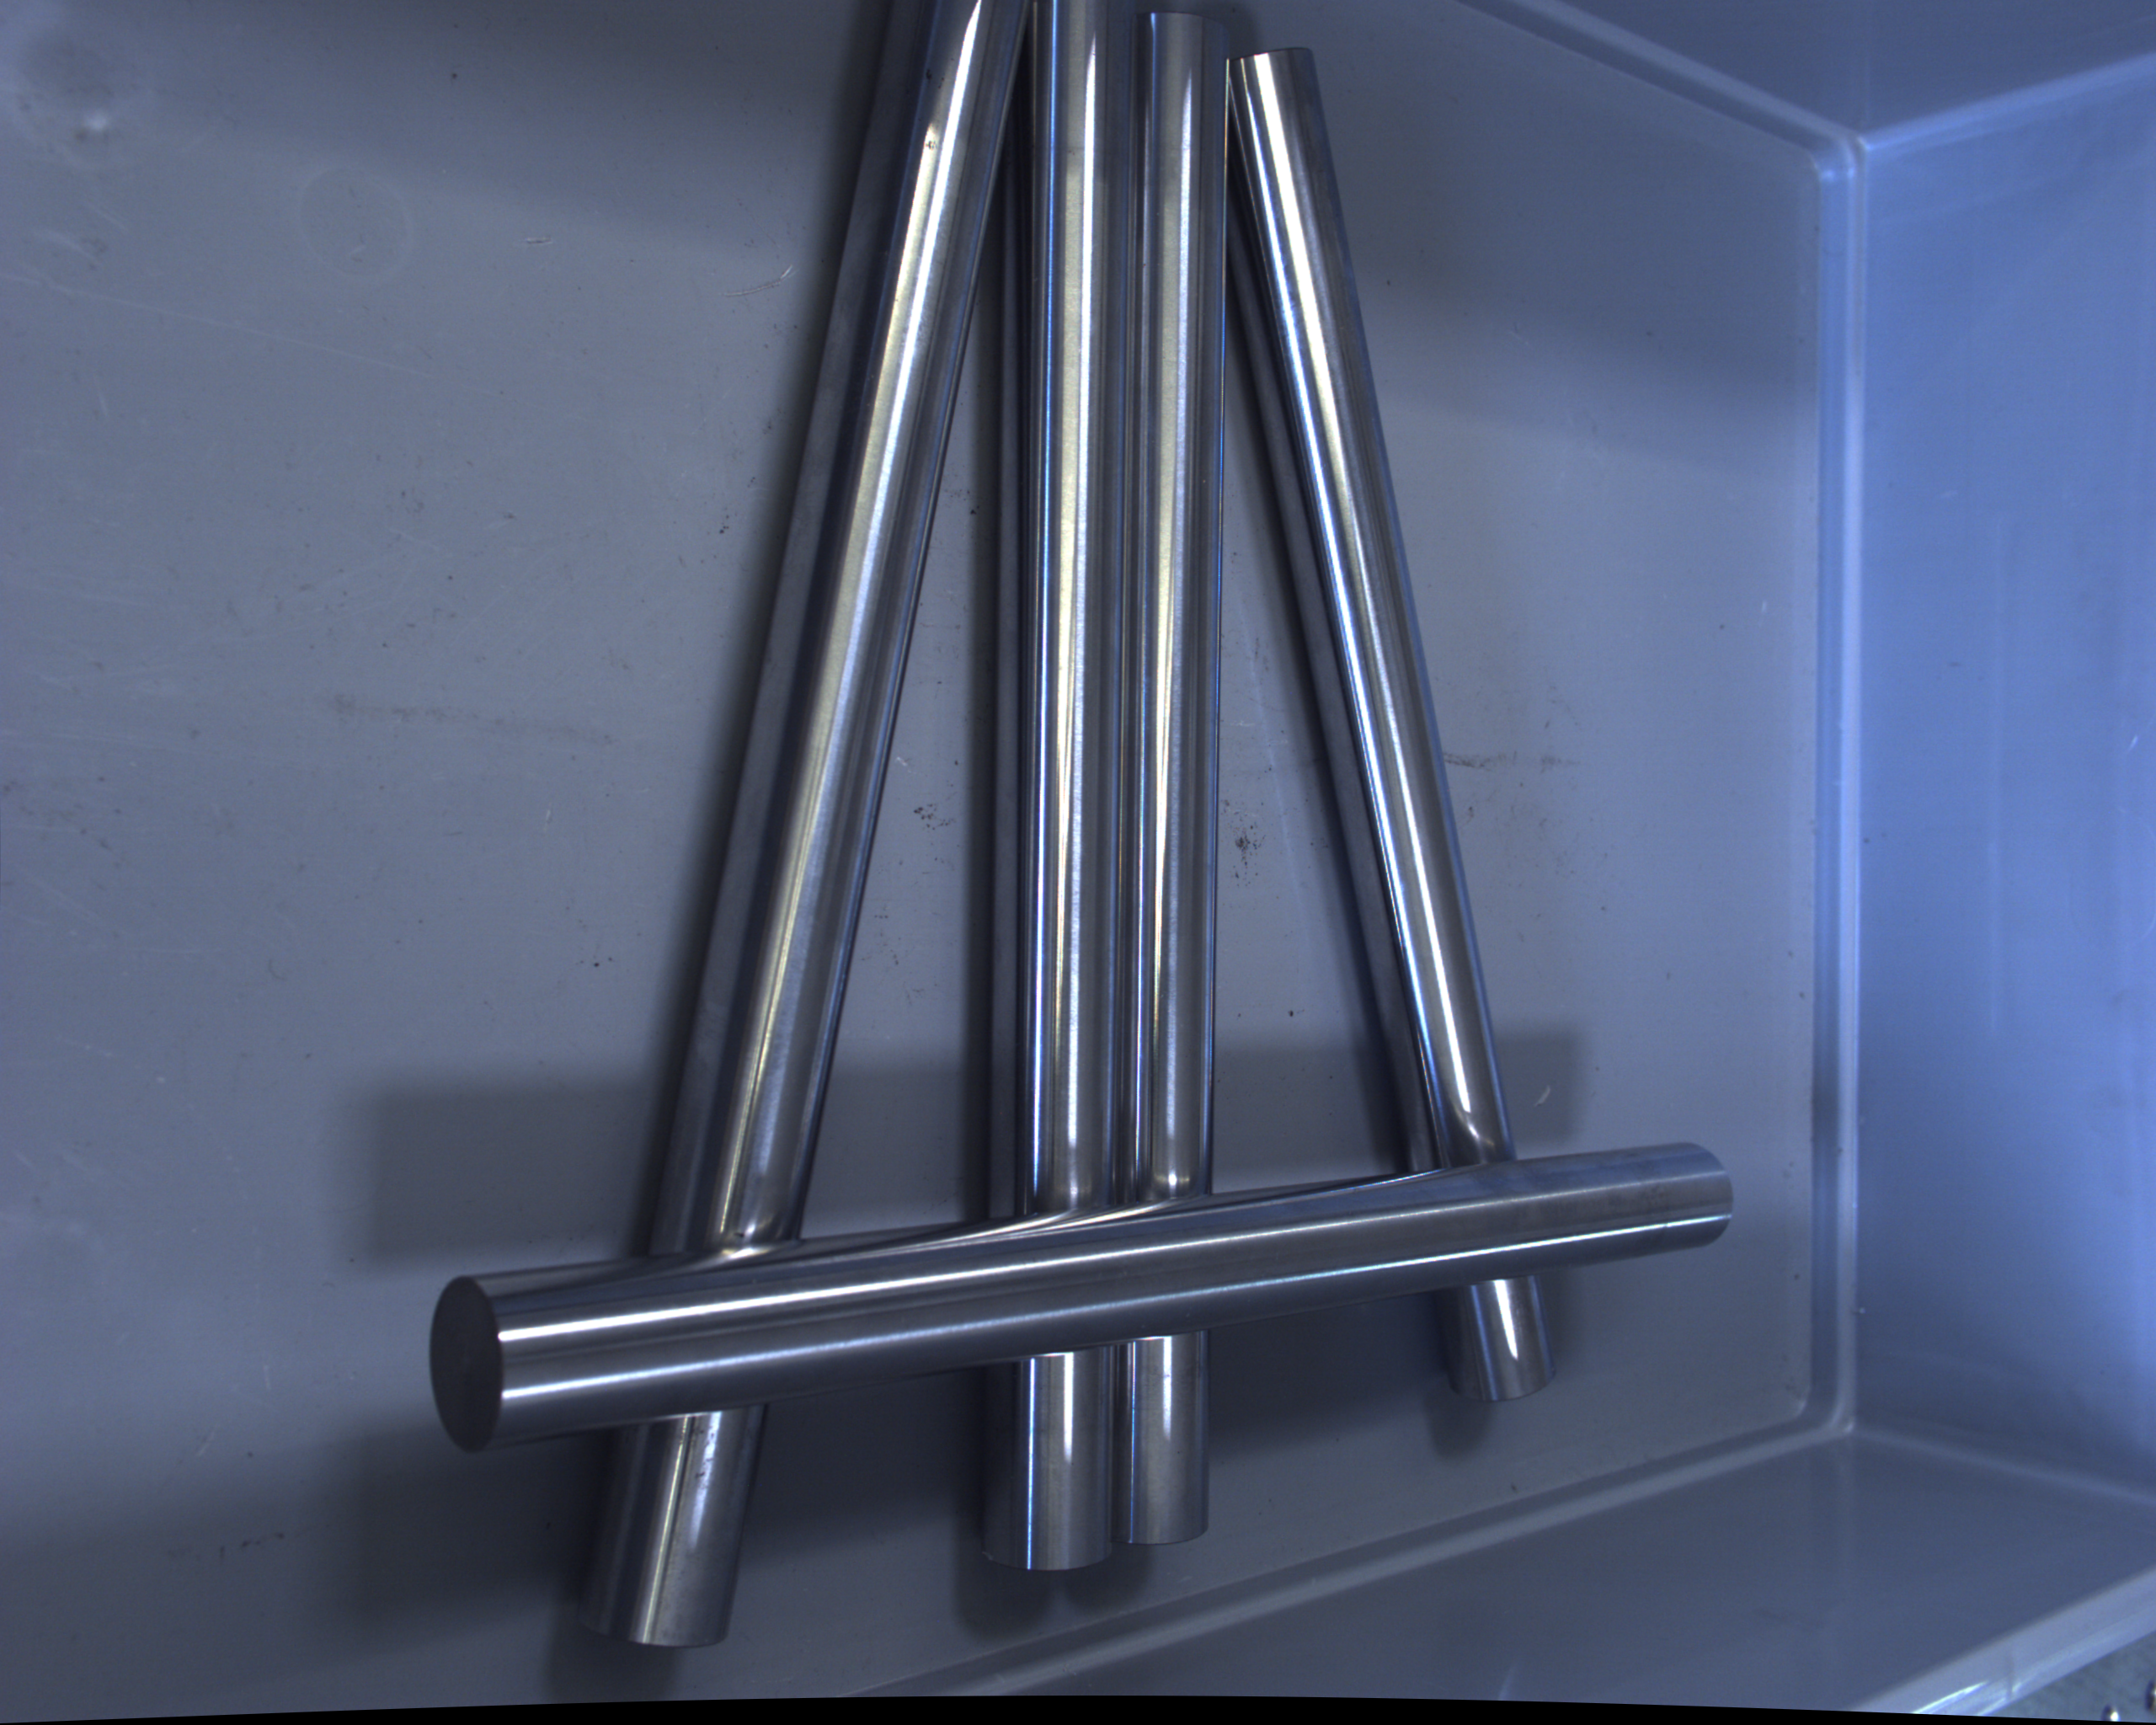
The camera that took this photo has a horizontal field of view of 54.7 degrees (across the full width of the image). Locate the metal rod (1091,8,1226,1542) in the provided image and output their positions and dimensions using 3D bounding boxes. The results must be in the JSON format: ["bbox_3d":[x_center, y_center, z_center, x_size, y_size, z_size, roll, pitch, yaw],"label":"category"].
[{"bbox_3d":[0.015,-0.017,0.418,0.025,0.025,0.298,1,89,-40],"label":"metal rod"}]

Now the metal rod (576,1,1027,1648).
[{"bbox_3d":[-0.046,-0.019,0.366,0.025,0.025,0.299,16,80,-39],"label":"metal rod"}]

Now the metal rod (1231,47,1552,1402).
[{"bbox_3d":[0.067,-0.023,0.461,0.025,0.025,0.298,-20,103,-38],"label":"metal rod"}]

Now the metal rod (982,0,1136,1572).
[{"bbox_3d":[-0.004,-0.017,0.402,0.025,0.025,0.298,1,89,-40],"label":"metal rod"}]

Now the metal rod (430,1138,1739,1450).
[{"bbox_3d":[0.029,0.074,0.395,0.302,0.025,0.025,2,89,-40],"label":"metal rod"}]
